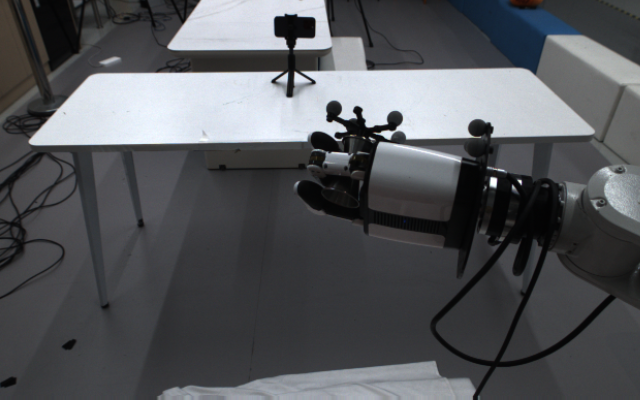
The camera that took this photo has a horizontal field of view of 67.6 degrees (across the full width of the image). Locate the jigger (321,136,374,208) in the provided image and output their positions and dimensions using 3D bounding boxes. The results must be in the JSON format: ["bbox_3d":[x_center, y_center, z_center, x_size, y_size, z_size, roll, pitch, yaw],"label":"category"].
[{"bbox_3d":[0.035,-0.030,0.523,0.043,0.043,0.071,13,70,16],"label":"jigger"}]
